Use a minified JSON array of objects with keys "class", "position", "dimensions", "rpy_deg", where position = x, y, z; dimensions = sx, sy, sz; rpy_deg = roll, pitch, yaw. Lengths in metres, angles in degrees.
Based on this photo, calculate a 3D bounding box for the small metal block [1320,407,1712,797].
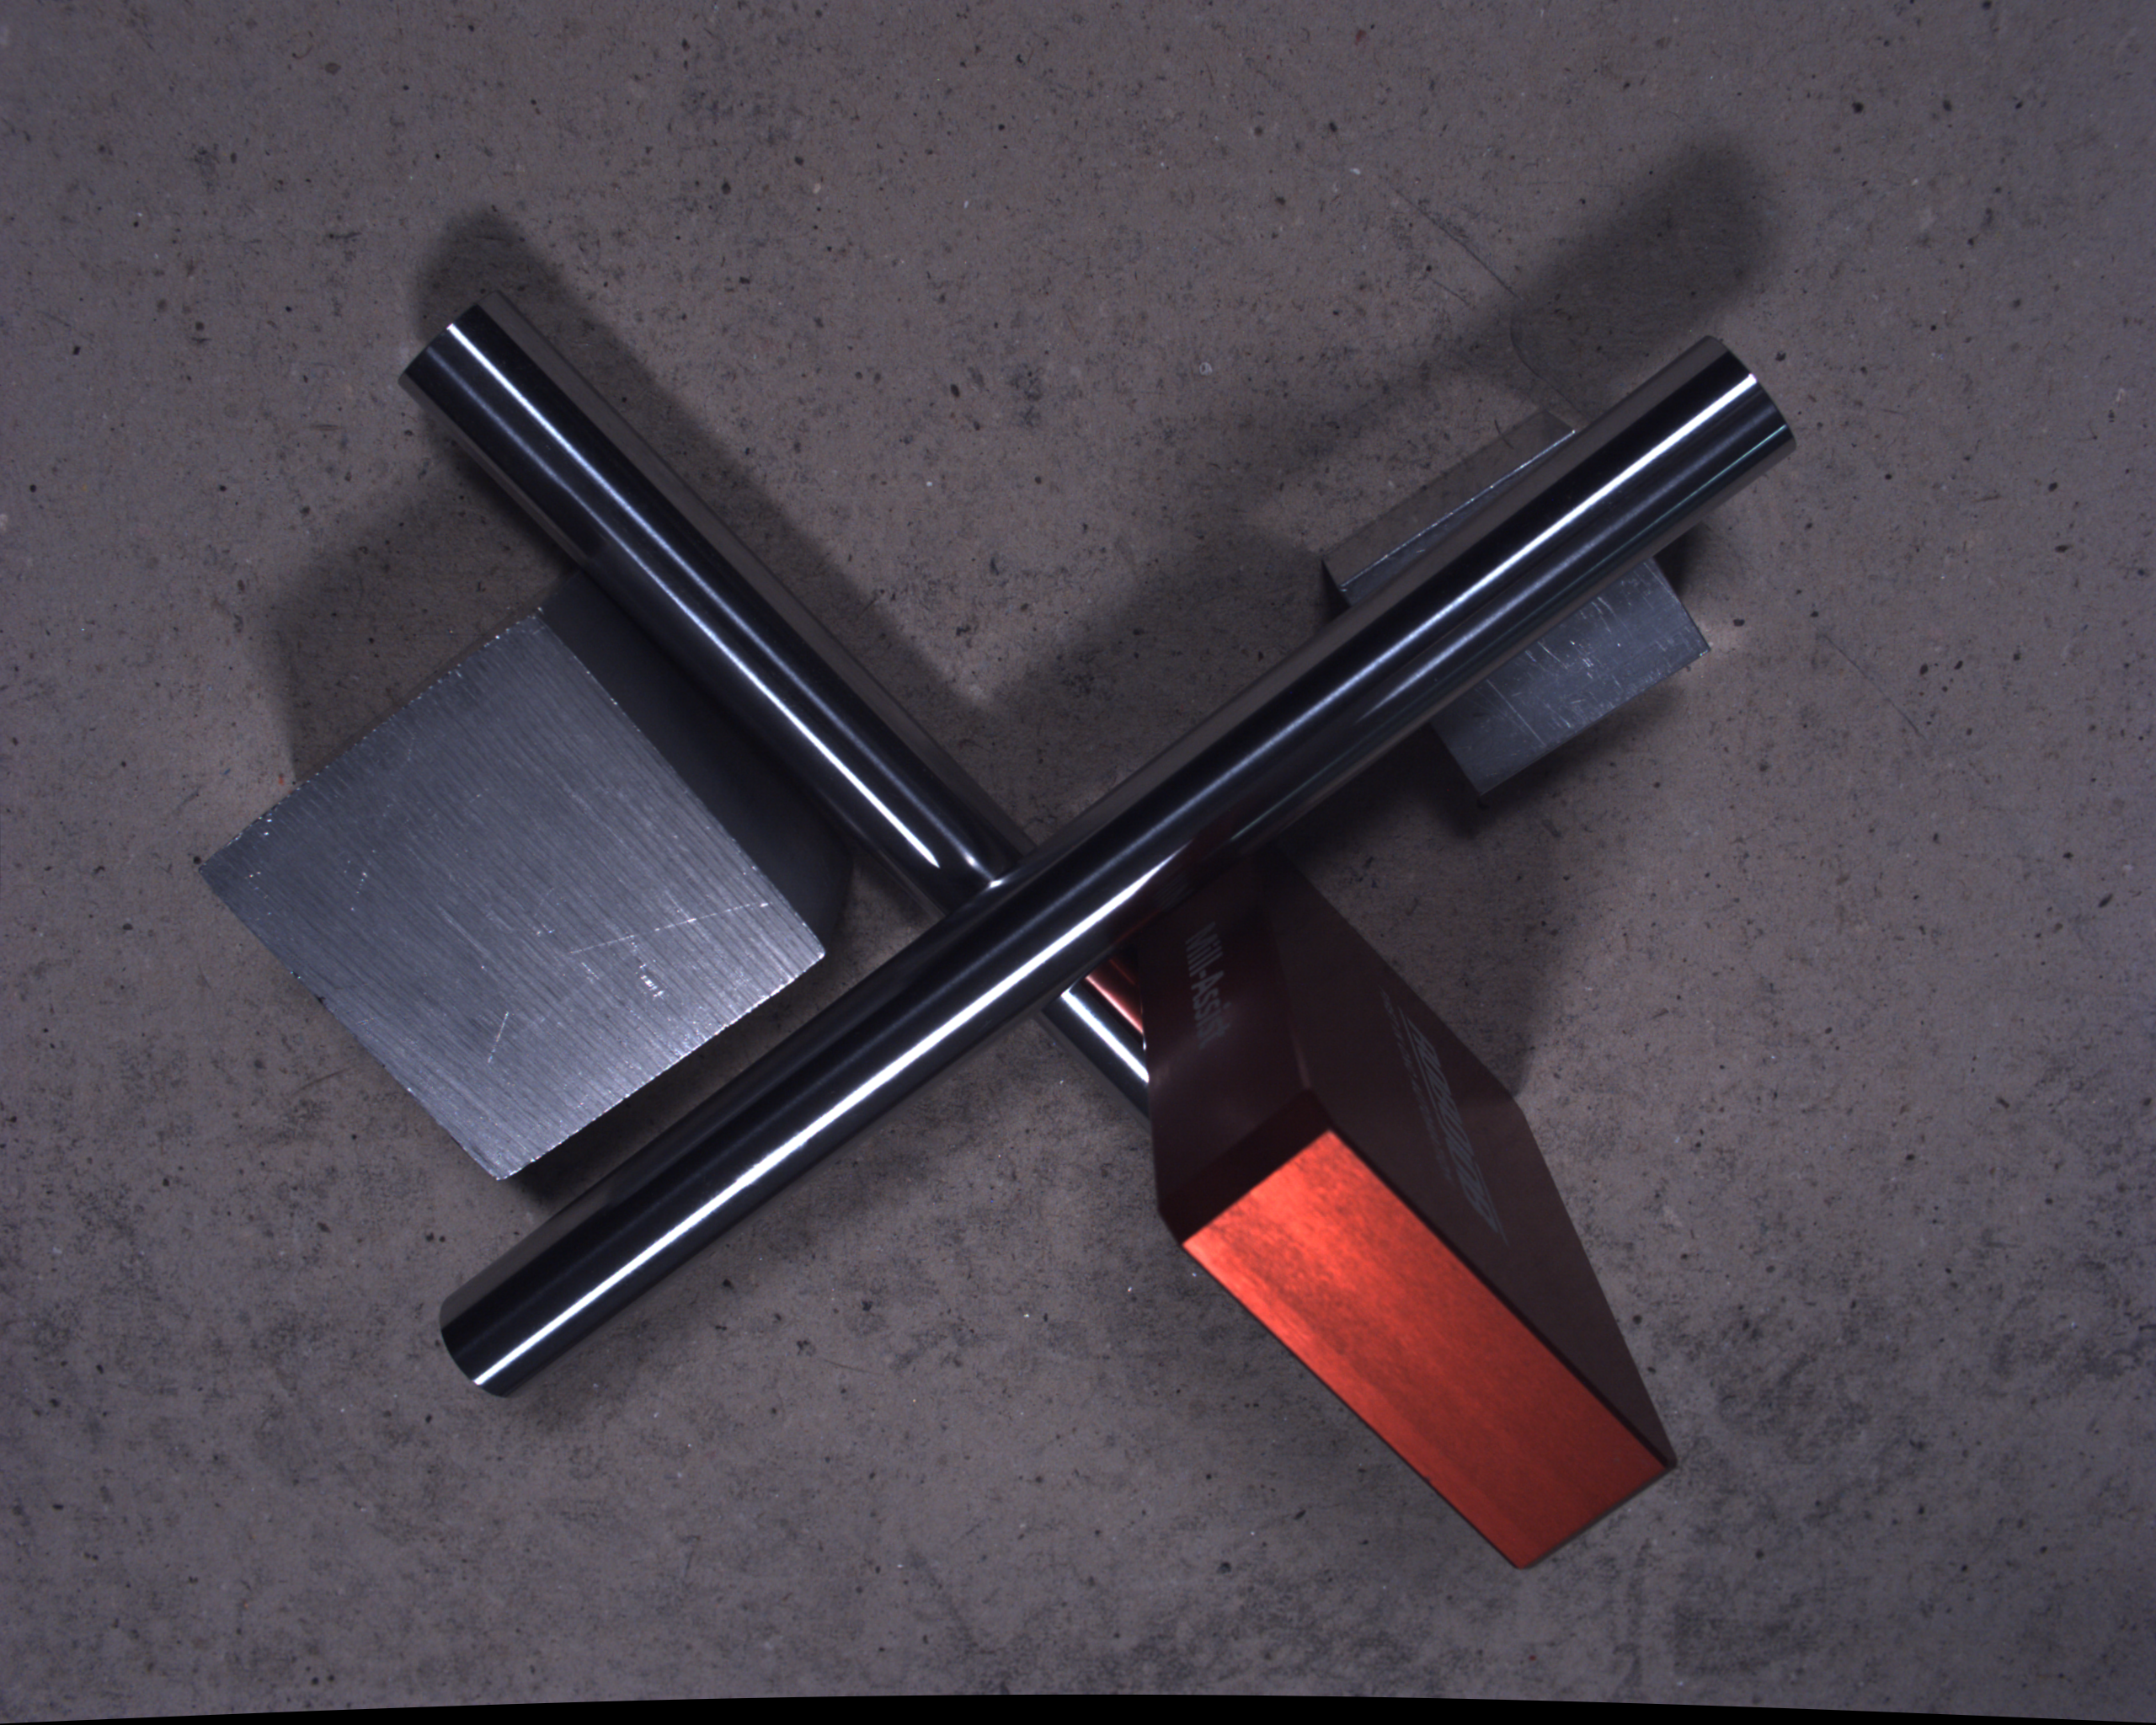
[{"class":"small metal block","position":[0.082,-0.049,0.394],"dimensions":[0.050,0.025,0.050],"rpy_deg":[-34,107,11]}]

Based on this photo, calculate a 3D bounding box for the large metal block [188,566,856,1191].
[{"class":"large metal block","position":[-0.101,0.001,0.395],"dimensions":[0.080,0.050,0.080],"rpy_deg":[-35,107,11]}]

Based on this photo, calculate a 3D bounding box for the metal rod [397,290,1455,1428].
[{"class":"metal rod","position":[-0.013,0.010,0.415],"dimensions":[0.025,0.025,0.300],"rpy_deg":[-40,106,13]}]

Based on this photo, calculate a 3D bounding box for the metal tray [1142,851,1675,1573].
[{"class":"metal tray","position":[0.053,0.052,0.374],"dimensions":[0.030,0.130,0.090],"rpy_deg":[-41,105,14]}]

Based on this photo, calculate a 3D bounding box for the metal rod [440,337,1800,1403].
[{"class":"metal rod","position":[-0.001,0.009,0.387],"dimensions":[0.300,0.025,0.025],"rpy_deg":[-37,106,12]}]
